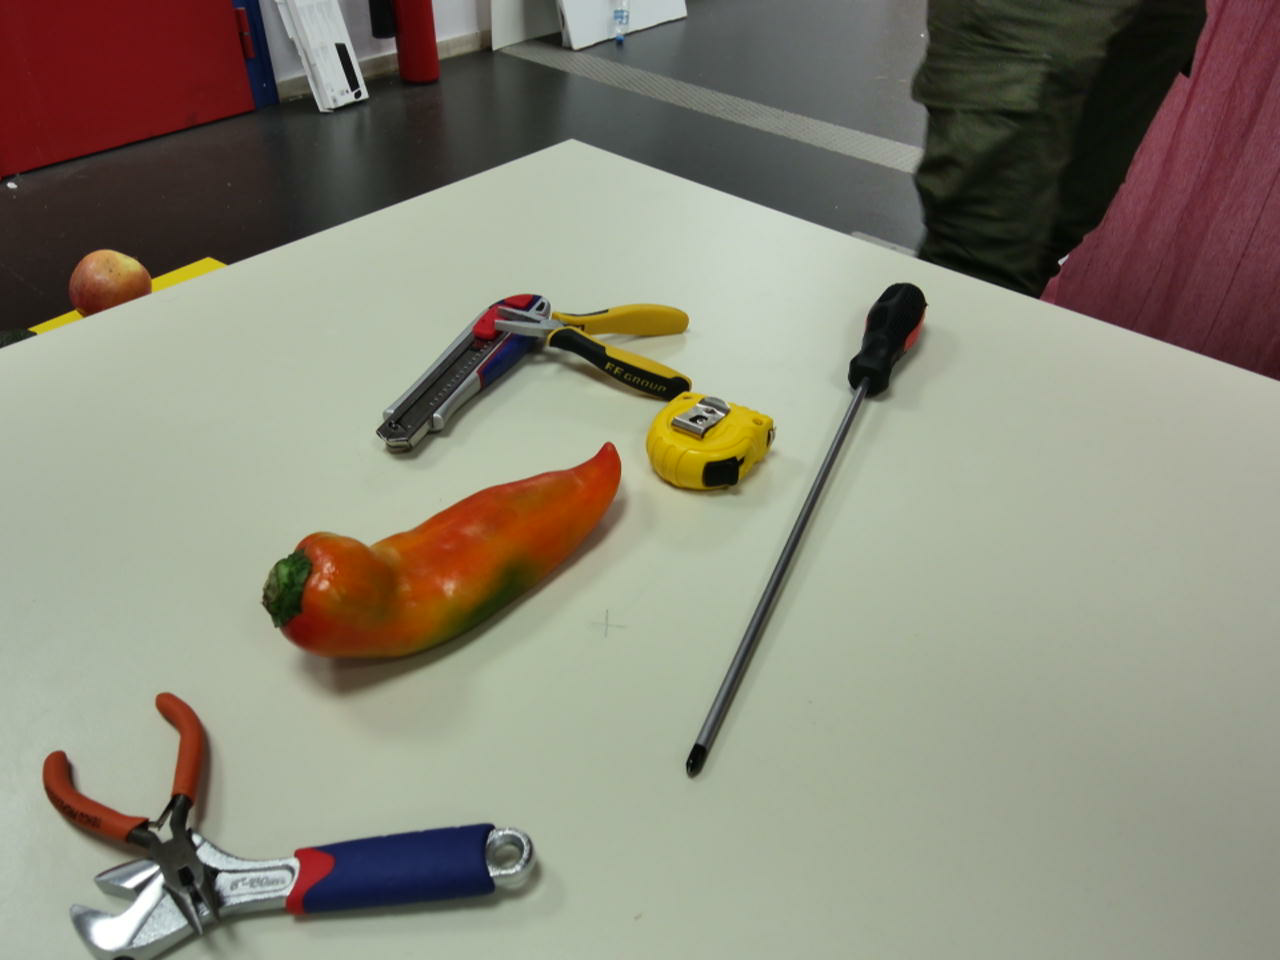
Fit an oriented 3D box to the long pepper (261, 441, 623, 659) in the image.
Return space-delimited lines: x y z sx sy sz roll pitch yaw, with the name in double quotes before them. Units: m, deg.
"long pepper" -0.079 0.023 0.469 0.199 0.065 0.066 -30 47 -35
